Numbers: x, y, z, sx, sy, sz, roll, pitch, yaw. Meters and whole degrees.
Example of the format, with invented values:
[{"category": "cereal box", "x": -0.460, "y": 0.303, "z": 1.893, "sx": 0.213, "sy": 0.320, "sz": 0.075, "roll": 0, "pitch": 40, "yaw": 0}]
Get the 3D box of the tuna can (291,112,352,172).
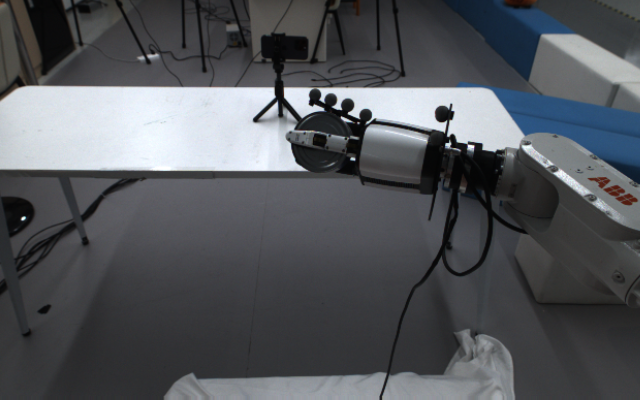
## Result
[{"category": "tuna can", "x": 0.006, "y": -0.082, "z": 0.684, "sx": 0.085, "sy": 0.085, "sz": 0.034, "roll": 13, "pitch": 3, "yaw": 16}]
